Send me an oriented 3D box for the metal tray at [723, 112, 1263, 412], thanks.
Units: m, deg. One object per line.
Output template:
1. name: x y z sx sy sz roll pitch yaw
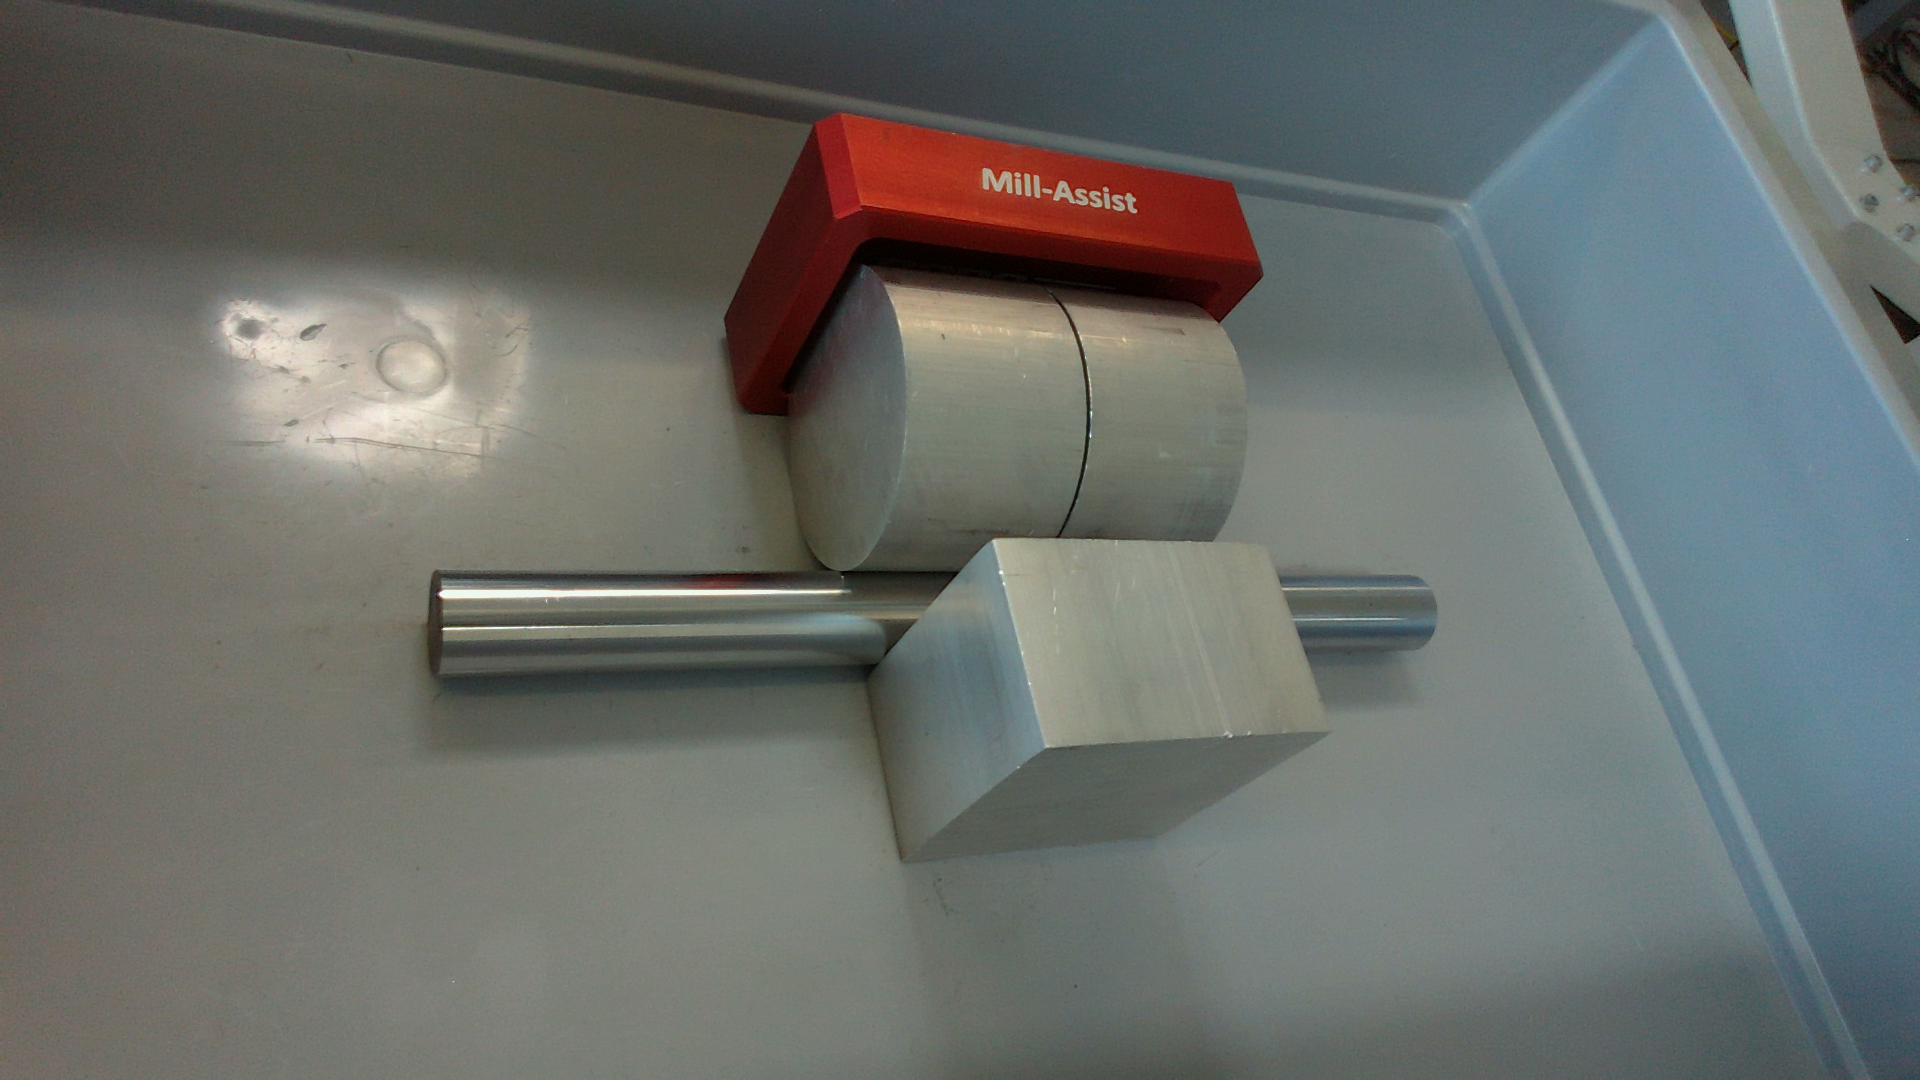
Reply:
1. metal tray: 0.008 -0.070 0.393 0.130 0.090 0.030 1 61 -28

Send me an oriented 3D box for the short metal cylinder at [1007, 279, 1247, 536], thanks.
1. short metal cylinder: 0.037 -0.031 0.393 0.050 0.080 0.080 2 61 -27

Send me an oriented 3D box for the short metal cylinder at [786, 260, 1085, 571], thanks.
1. short metal cylinder: -0.009 -0.032 0.368 0.050 0.080 0.080 1 61 -28

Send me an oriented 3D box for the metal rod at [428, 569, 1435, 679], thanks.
1. metal rod: 0.014 0.021 0.382 0.301 0.025 0.025 1 61 -28

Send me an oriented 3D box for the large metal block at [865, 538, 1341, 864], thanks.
1. large metal block: 0.032 0.041 0.344 0.080 0.080 0.050 1 61 -28
